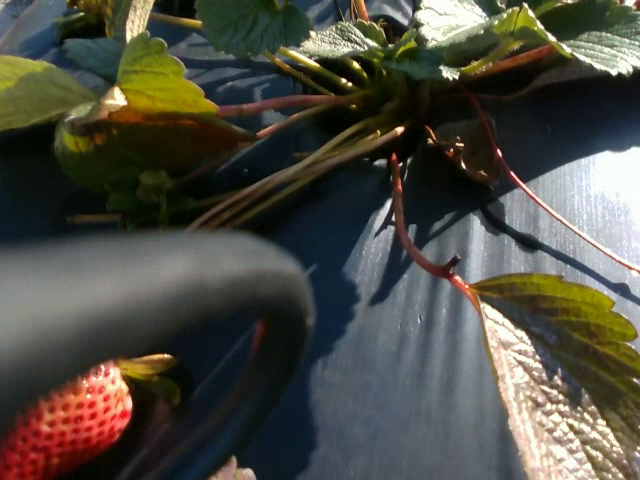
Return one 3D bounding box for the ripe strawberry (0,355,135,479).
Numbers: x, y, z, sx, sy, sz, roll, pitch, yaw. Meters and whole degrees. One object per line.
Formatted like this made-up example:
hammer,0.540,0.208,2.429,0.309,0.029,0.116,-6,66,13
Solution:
ripe strawberry,-0.080,0.055,0.176,0.043,0.064,0.044,40,-39,-19
